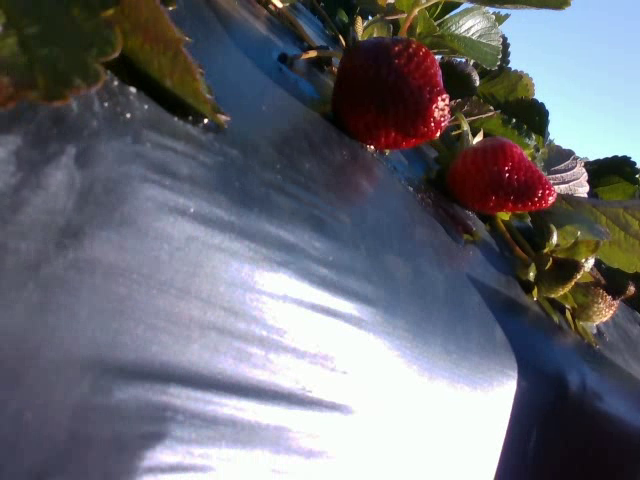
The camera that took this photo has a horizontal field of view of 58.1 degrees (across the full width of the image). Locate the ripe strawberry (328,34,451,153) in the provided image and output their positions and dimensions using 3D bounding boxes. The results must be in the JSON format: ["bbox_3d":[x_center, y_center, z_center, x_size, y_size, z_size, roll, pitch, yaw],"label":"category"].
[{"bbox_3d":[0.029,-0.051,0.199,0.051,0.045,0.050,48,-8,-28],"label":"ripe strawberry"}]

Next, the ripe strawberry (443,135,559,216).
[{"bbox_3d":[0.080,-0.025,0.245,0.042,0.039,0.049,-26,40,-36],"label":"ripe strawberry"}]
